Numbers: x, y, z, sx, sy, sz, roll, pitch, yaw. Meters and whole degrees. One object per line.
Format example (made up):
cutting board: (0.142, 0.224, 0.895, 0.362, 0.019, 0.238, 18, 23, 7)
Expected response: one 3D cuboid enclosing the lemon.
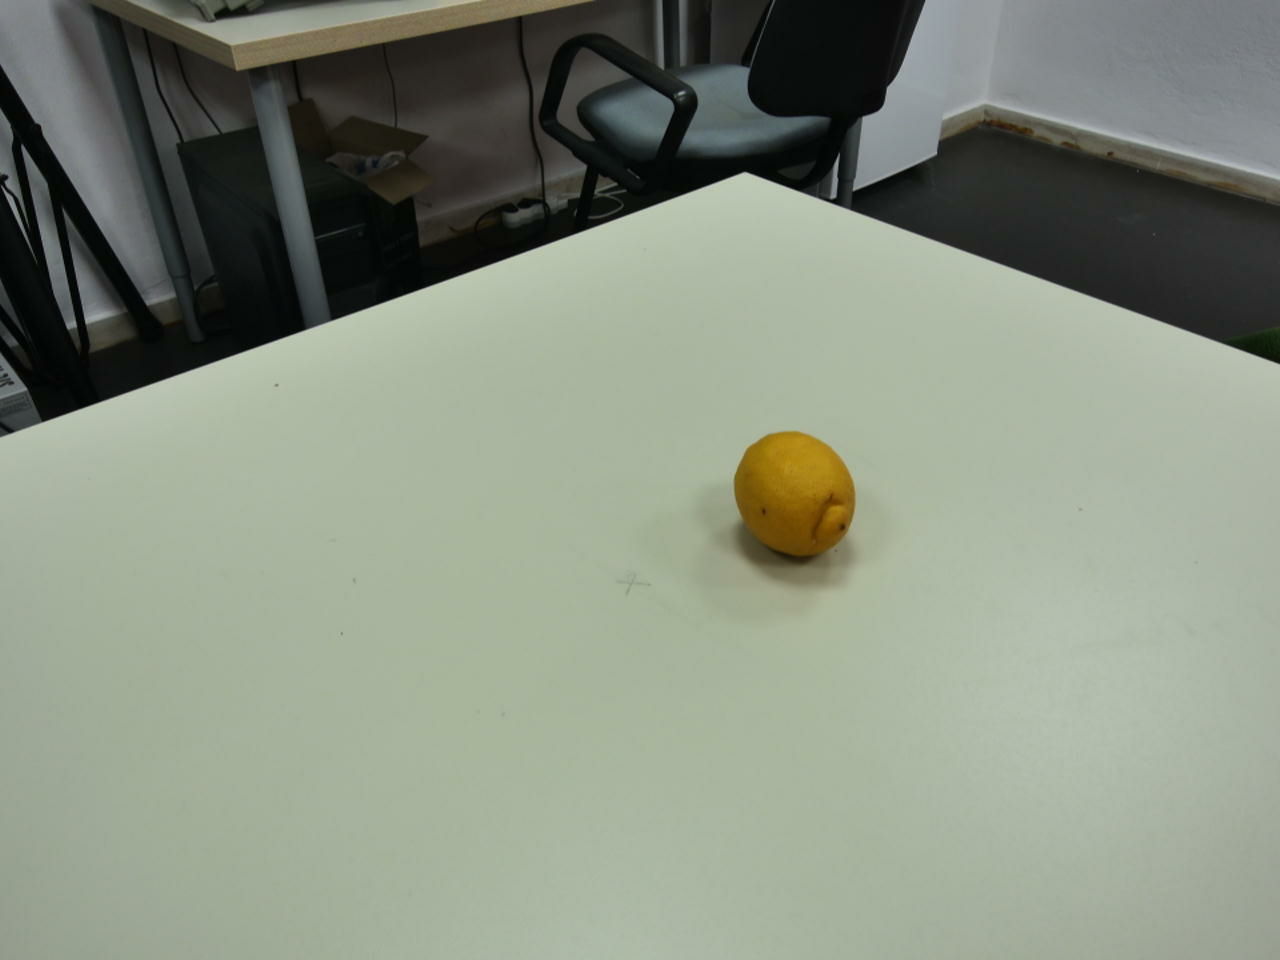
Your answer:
lemon: (0.079, 0.008, 0.515, 0.061, 0.059, 0.066, 1, 36, 2)
